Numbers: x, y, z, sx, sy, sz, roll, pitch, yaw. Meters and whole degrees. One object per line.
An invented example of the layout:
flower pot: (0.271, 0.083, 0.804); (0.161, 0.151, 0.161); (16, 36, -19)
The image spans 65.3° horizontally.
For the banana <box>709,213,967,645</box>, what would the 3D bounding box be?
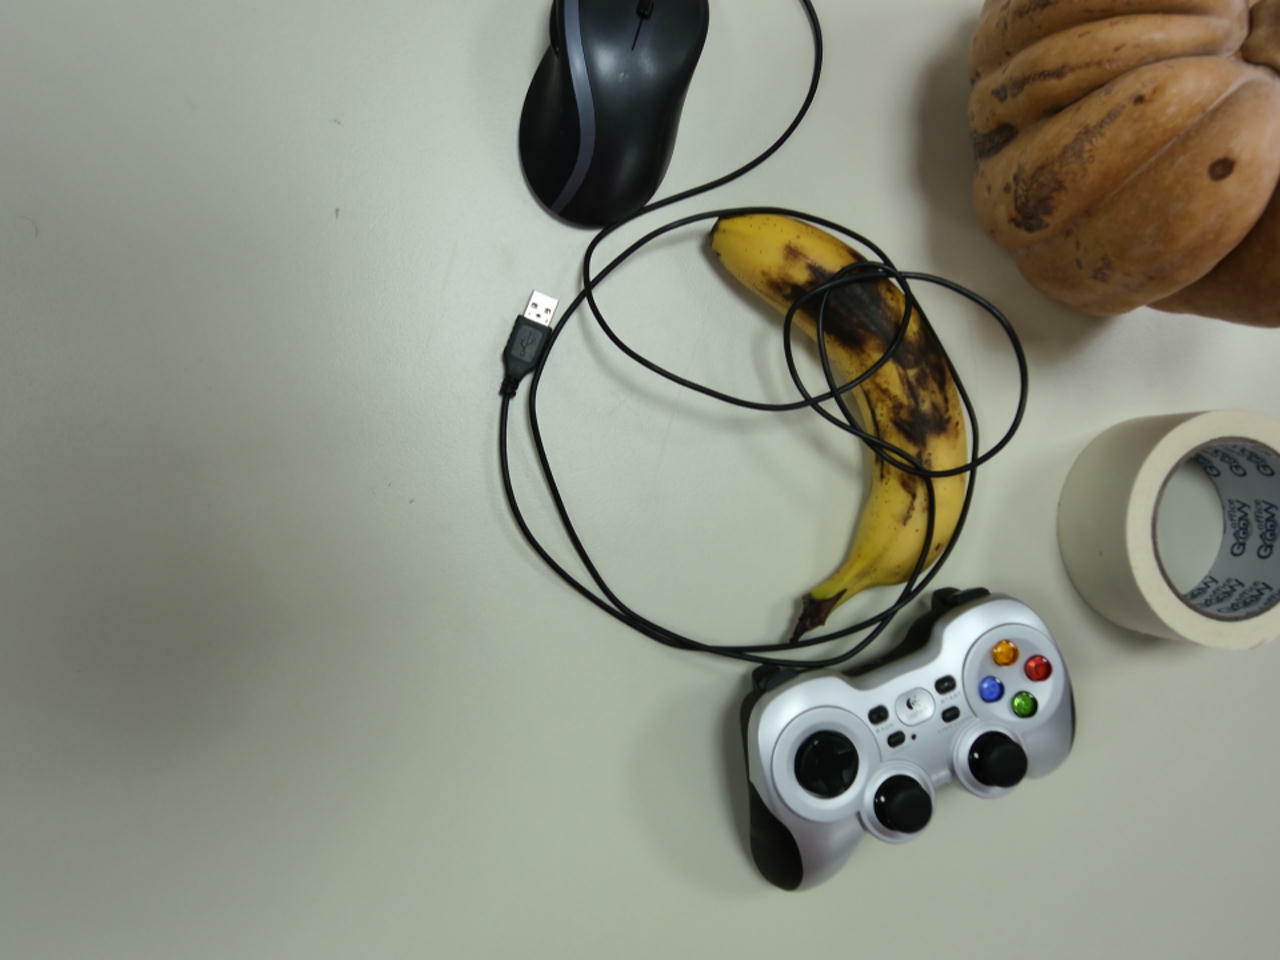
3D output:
banana: (0.093, -0.031, 0.437); (0.094, 0.039, 0.187); (-12, 93, -11)
